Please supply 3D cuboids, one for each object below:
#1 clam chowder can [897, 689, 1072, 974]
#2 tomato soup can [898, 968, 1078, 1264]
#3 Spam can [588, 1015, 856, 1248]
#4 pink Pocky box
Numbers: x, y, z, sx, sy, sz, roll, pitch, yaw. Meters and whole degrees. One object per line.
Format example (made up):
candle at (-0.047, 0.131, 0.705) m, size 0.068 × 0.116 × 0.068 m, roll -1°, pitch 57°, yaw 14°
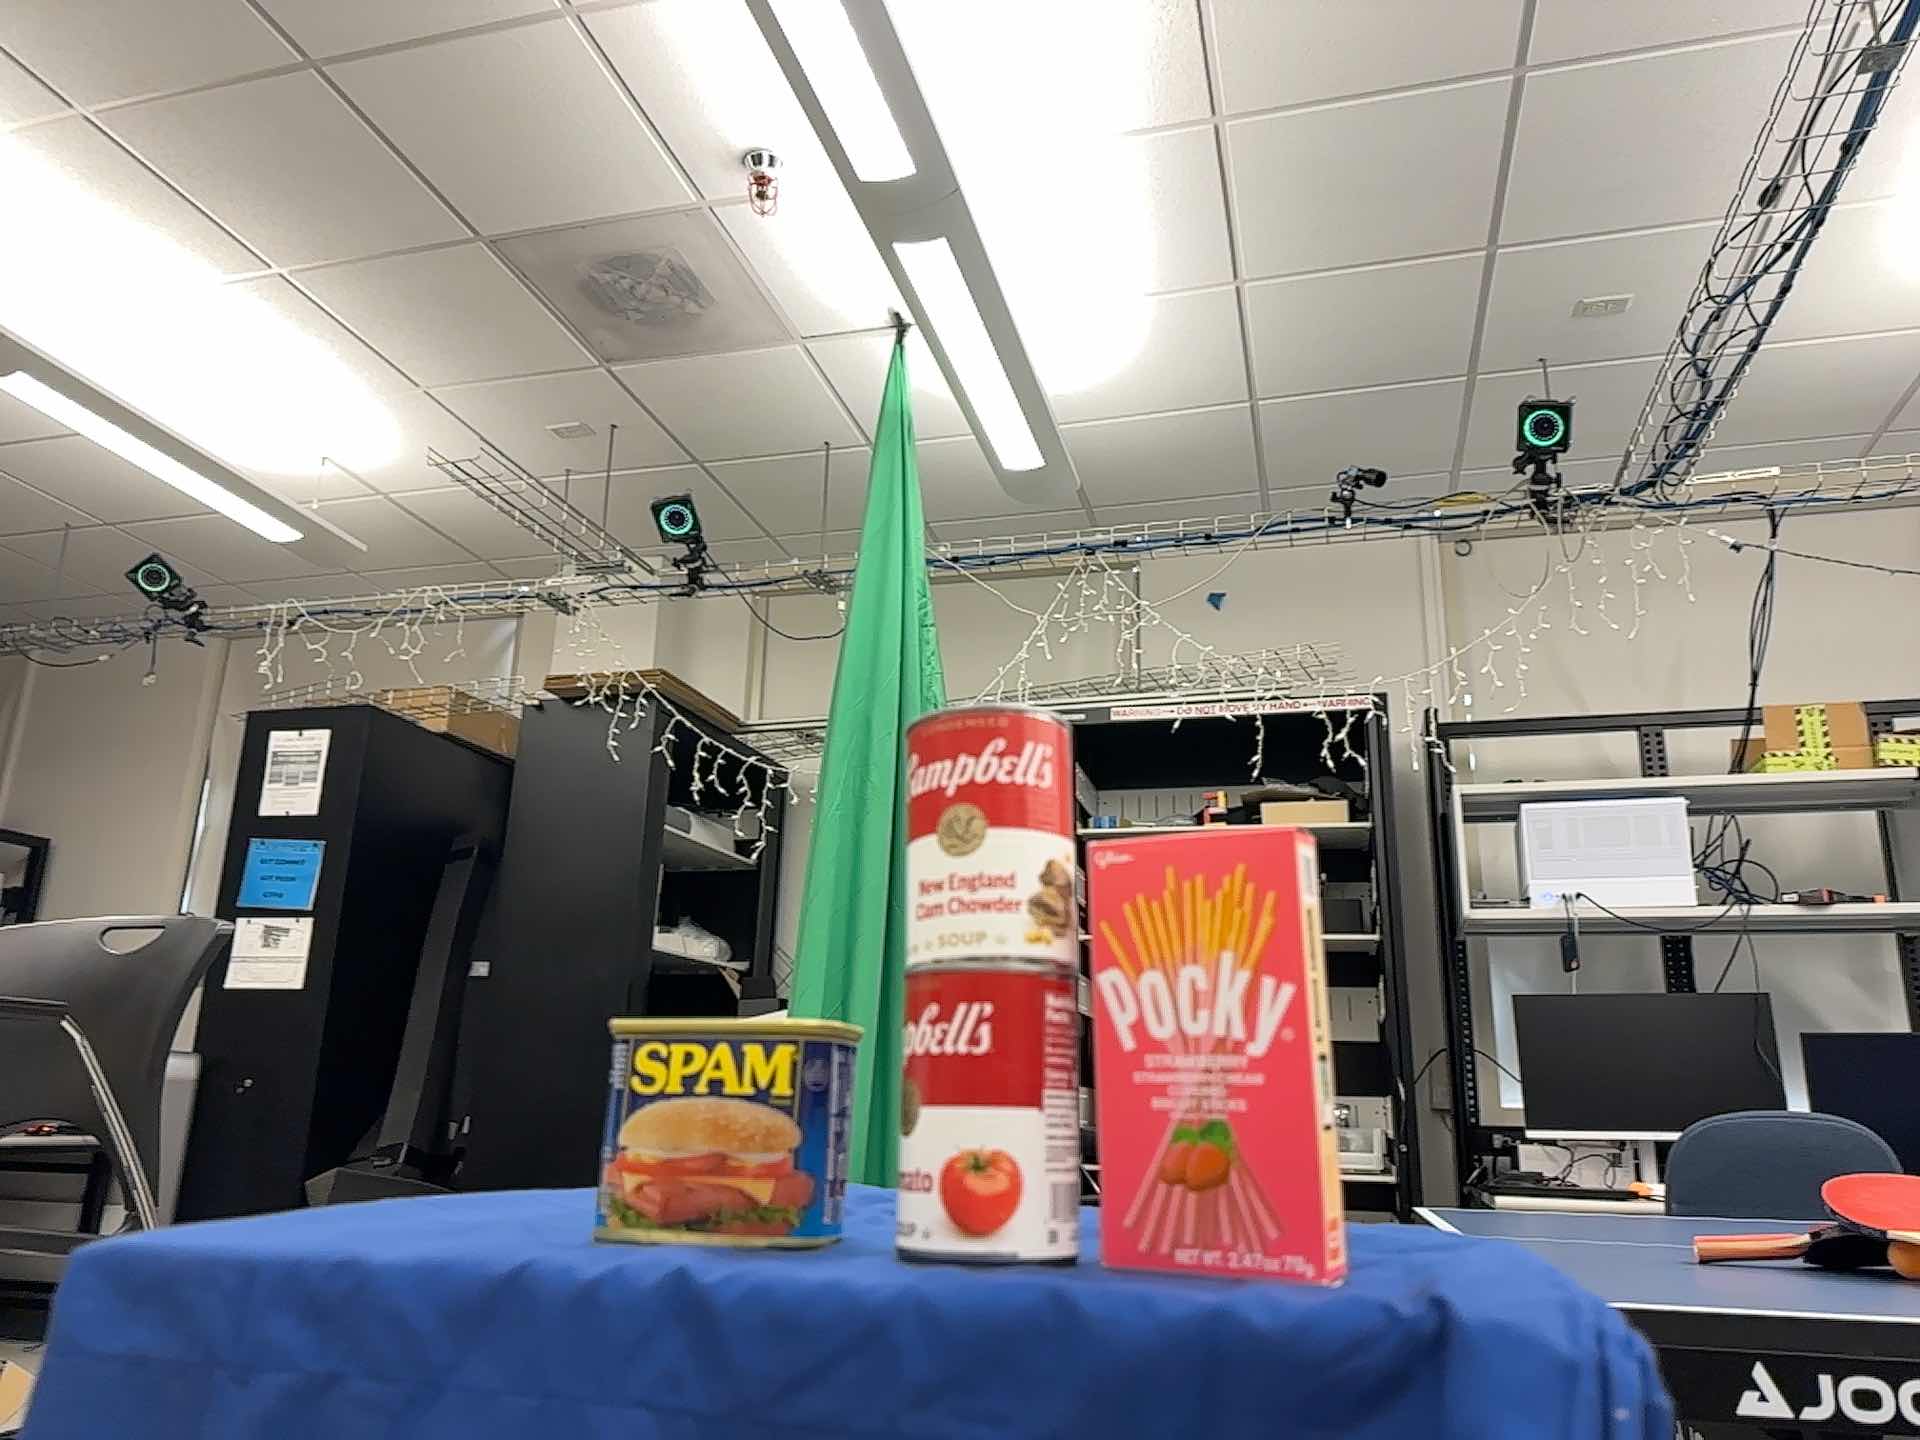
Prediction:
clam chowder can at (0.009, 0.047, 0.528) m, size 0.068 × 0.102 × 0.068 m, roll 0°, pitch -19°, yaw 0°
tomato soup can at (0.011, 0.147, 0.506) m, size 0.067 × 0.102 × 0.067 m, roll 1°, pitch -16°, yaw 0°
Spam can at (-0.097, 0.165, 0.545) m, size 0.100 × 0.083 × 0.056 m, roll -2°, pitch -15°, yaw 15°
pink Pocky box at (0.083, 0.115, 0.472) m, size 0.084 × 0.154 × 0.029 m, roll -8°, pitch -15°, yaw 27°
